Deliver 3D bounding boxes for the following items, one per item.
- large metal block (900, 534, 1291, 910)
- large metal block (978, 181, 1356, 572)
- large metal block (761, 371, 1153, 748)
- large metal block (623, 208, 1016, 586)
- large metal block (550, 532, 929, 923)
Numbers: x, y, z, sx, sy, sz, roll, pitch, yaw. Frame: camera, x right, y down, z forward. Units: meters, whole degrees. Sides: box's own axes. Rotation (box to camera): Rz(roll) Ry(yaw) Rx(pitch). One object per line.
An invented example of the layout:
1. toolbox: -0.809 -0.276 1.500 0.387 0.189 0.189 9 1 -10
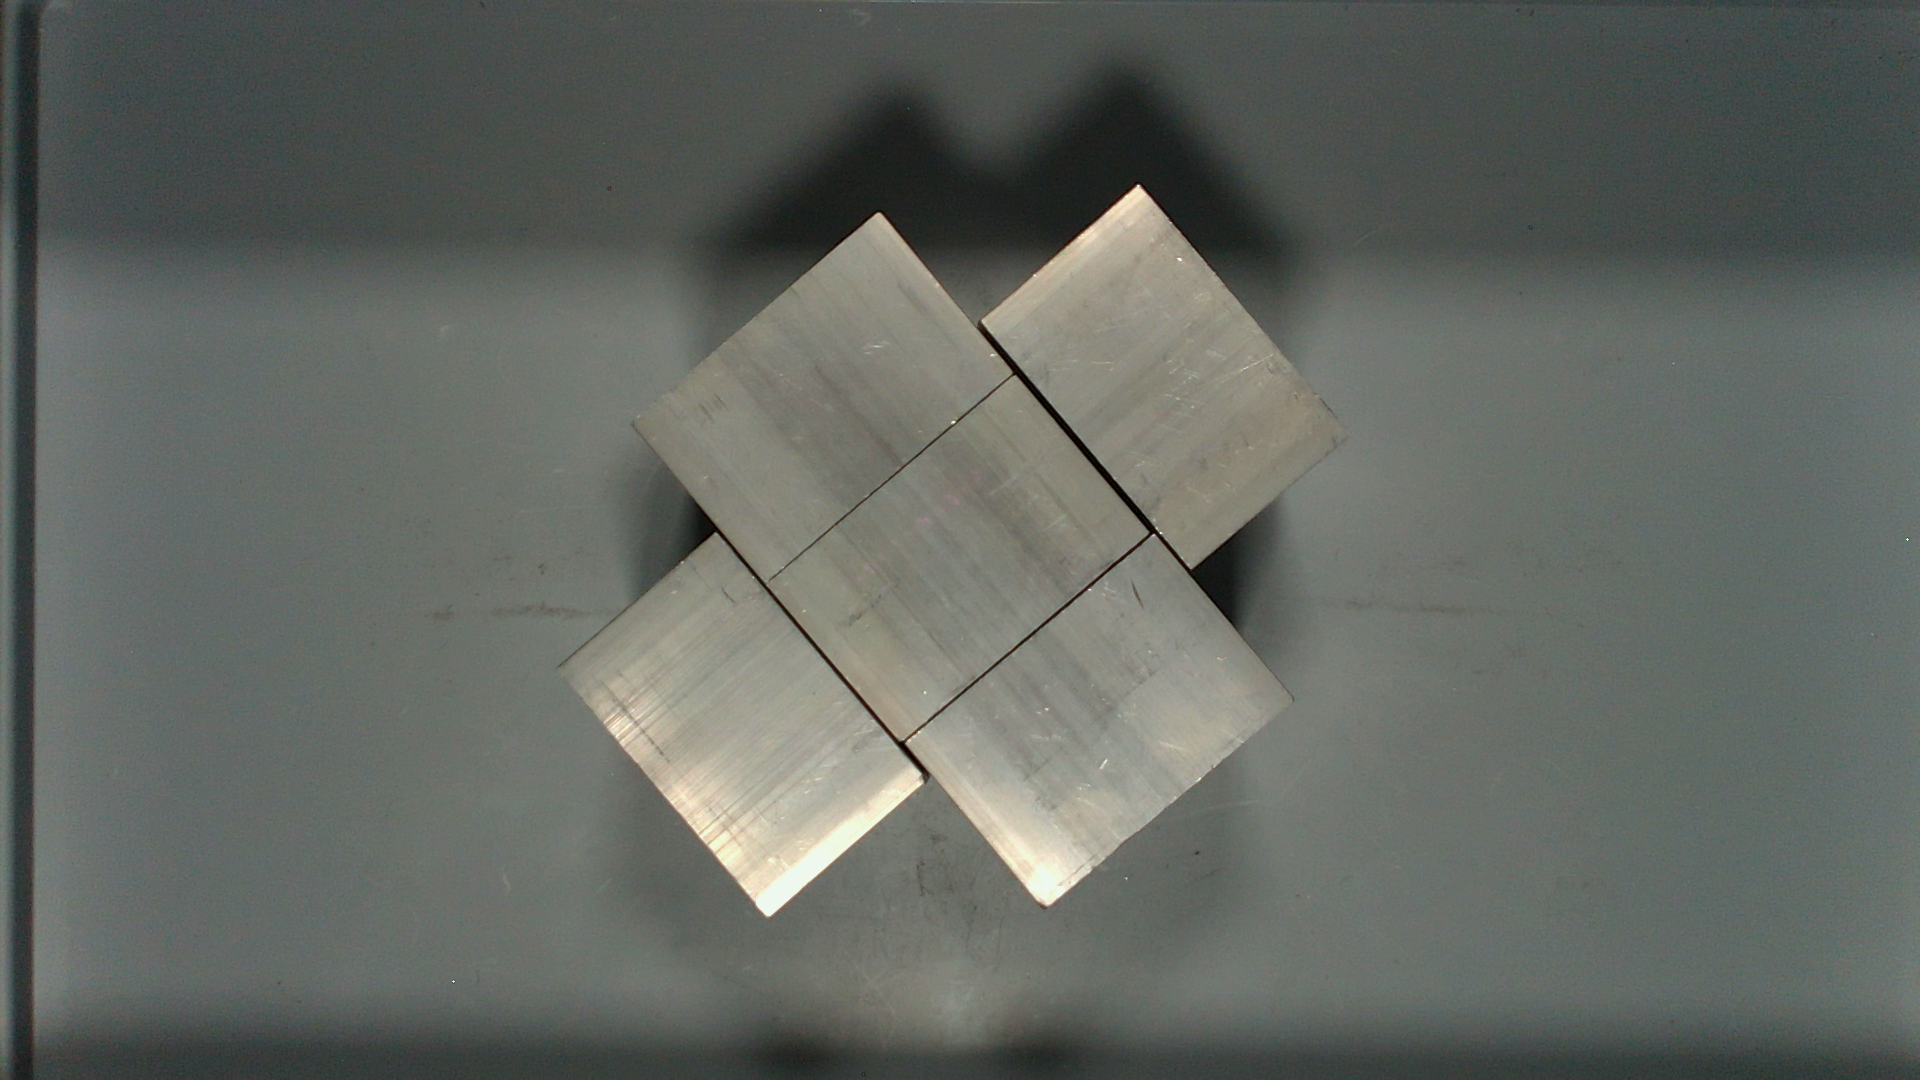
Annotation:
1. large metal block: 0.033 0.043 0.368 0.080 0.080 0.050 -40 90 0
2. large metal block: 0.049 -0.039 0.368 0.050 0.080 0.080 -41 90 0
3. large metal block: -0.001 0.004 0.368 0.080 0.080 0.050 -40 90 0
4. large metal block: -0.033 -0.034 0.367 0.080 0.080 0.050 -40 90 0
5. large metal block: -0.052 0.044 0.368 0.050 0.080 0.080 -41 90 0
